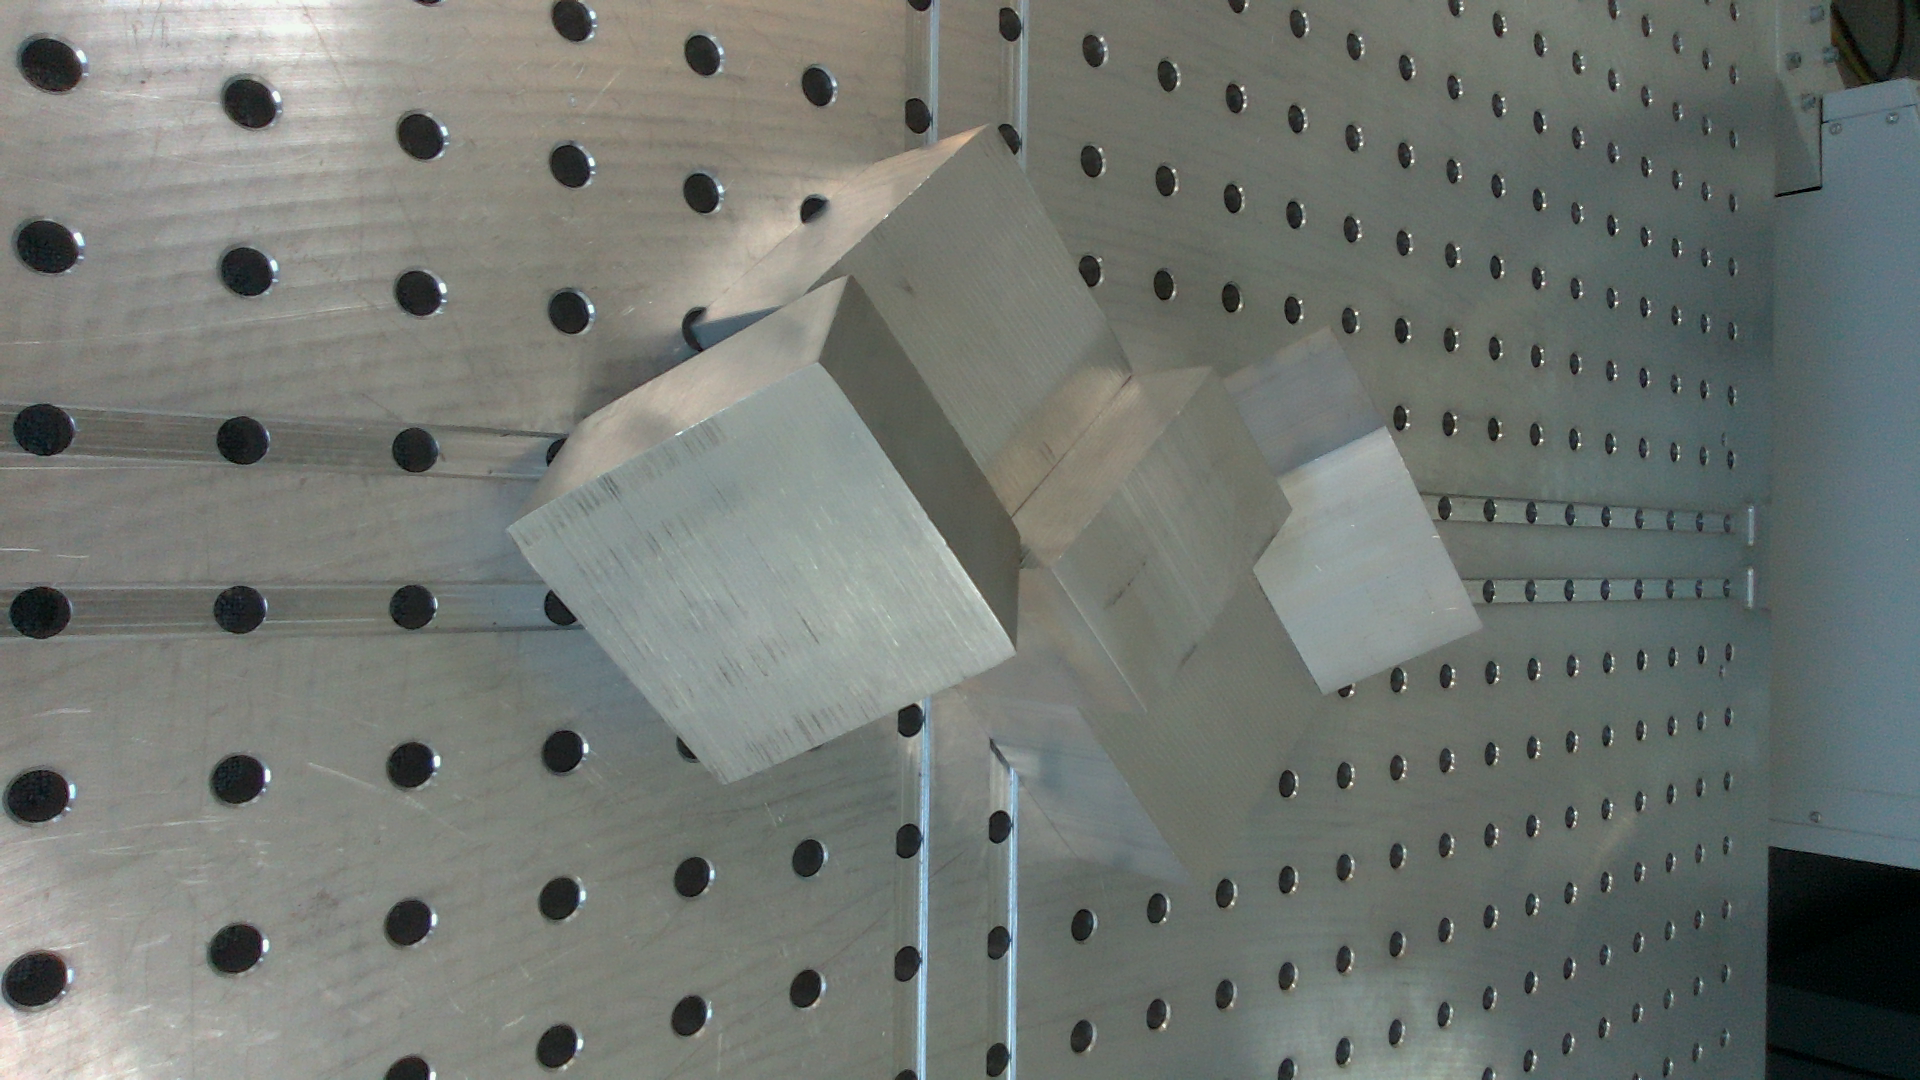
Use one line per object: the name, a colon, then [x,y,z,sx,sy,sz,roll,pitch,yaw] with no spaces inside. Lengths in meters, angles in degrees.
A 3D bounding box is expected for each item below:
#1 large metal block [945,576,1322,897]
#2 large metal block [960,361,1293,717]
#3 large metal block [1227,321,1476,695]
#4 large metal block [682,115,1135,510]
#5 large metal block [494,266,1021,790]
large metal block: [0.055,0.048,0.421,0.080,0.050,0.080,-48,117,-29]
large metal block: [0.031,-0.002,0.381,0.080,0.080,0.050,-50,121,-28]
large metal block: [0.118,-0.012,0.446,0.080,0.050,0.080,56,18,-25]
large metal block: [-0.011,-0.051,0.366,0.080,0.050,0.080,-48,119,-27]
large metal block: [-0.041,-0.001,0.312,0.080,0.080,0.050,56,19,-25]
